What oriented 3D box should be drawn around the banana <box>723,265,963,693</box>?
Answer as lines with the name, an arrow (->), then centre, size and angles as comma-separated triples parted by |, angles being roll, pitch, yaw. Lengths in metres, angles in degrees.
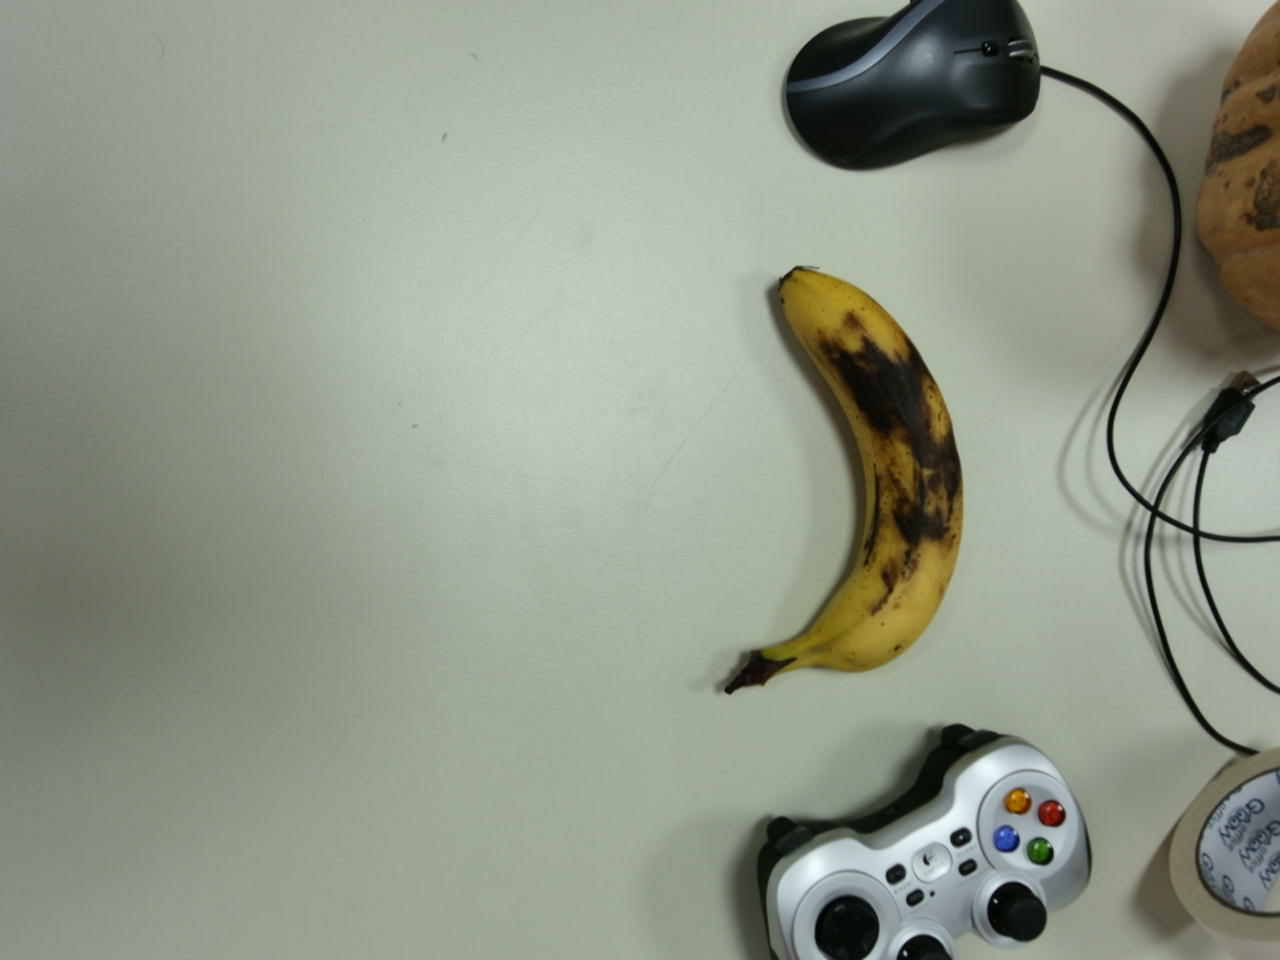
banana -> 0.095, 0.003, 0.438 | 0.094, 0.039, 0.187 | 8, 88, -11
